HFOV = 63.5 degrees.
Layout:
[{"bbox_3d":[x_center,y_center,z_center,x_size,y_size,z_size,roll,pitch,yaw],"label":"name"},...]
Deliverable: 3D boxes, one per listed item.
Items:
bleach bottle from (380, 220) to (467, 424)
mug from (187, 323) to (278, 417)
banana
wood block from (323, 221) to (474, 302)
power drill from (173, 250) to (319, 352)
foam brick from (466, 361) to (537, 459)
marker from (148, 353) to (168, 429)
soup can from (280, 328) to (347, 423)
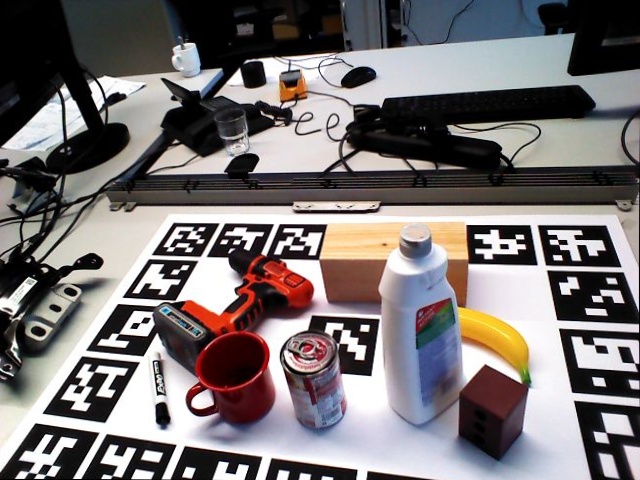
[{"bbox_3d":[0.111,0.084,0.556,0.068,0.251,0.102,22,47,37],"label":"bleach bottle"},{"bbox_3d":[-0.109,0.171,0.640,0.117,0.081,0.093,-31,43,-20],"label":"mug"},{"bbox_3d":[0.182,0.102,0.687,0.198,0.039,0.074,12,56,26],"label":"banana"},{"bbox_3d":[0.119,0.031,0.762,0.207,0.091,0.089,-1,39,14],"label":"wood block"},{"bbox_3d":[-0.122,0.096,0.775,0.185,0.057,0.186,24,48,34],"label":"power drill"},{"bbox_3d":[0.192,0.182,0.553,0.051,0.078,0.053,-34,40,-30],"label":"foam brick"},{"bbox_3d":[-0.216,0.199,0.689,0.019,0.020,0.121,-20,38,-8],"label":"marker"},{"bbox_3d":[-0.005,0.156,0.606,0.068,0.102,0.067,-6,33,3],"label":"soup can"}]
